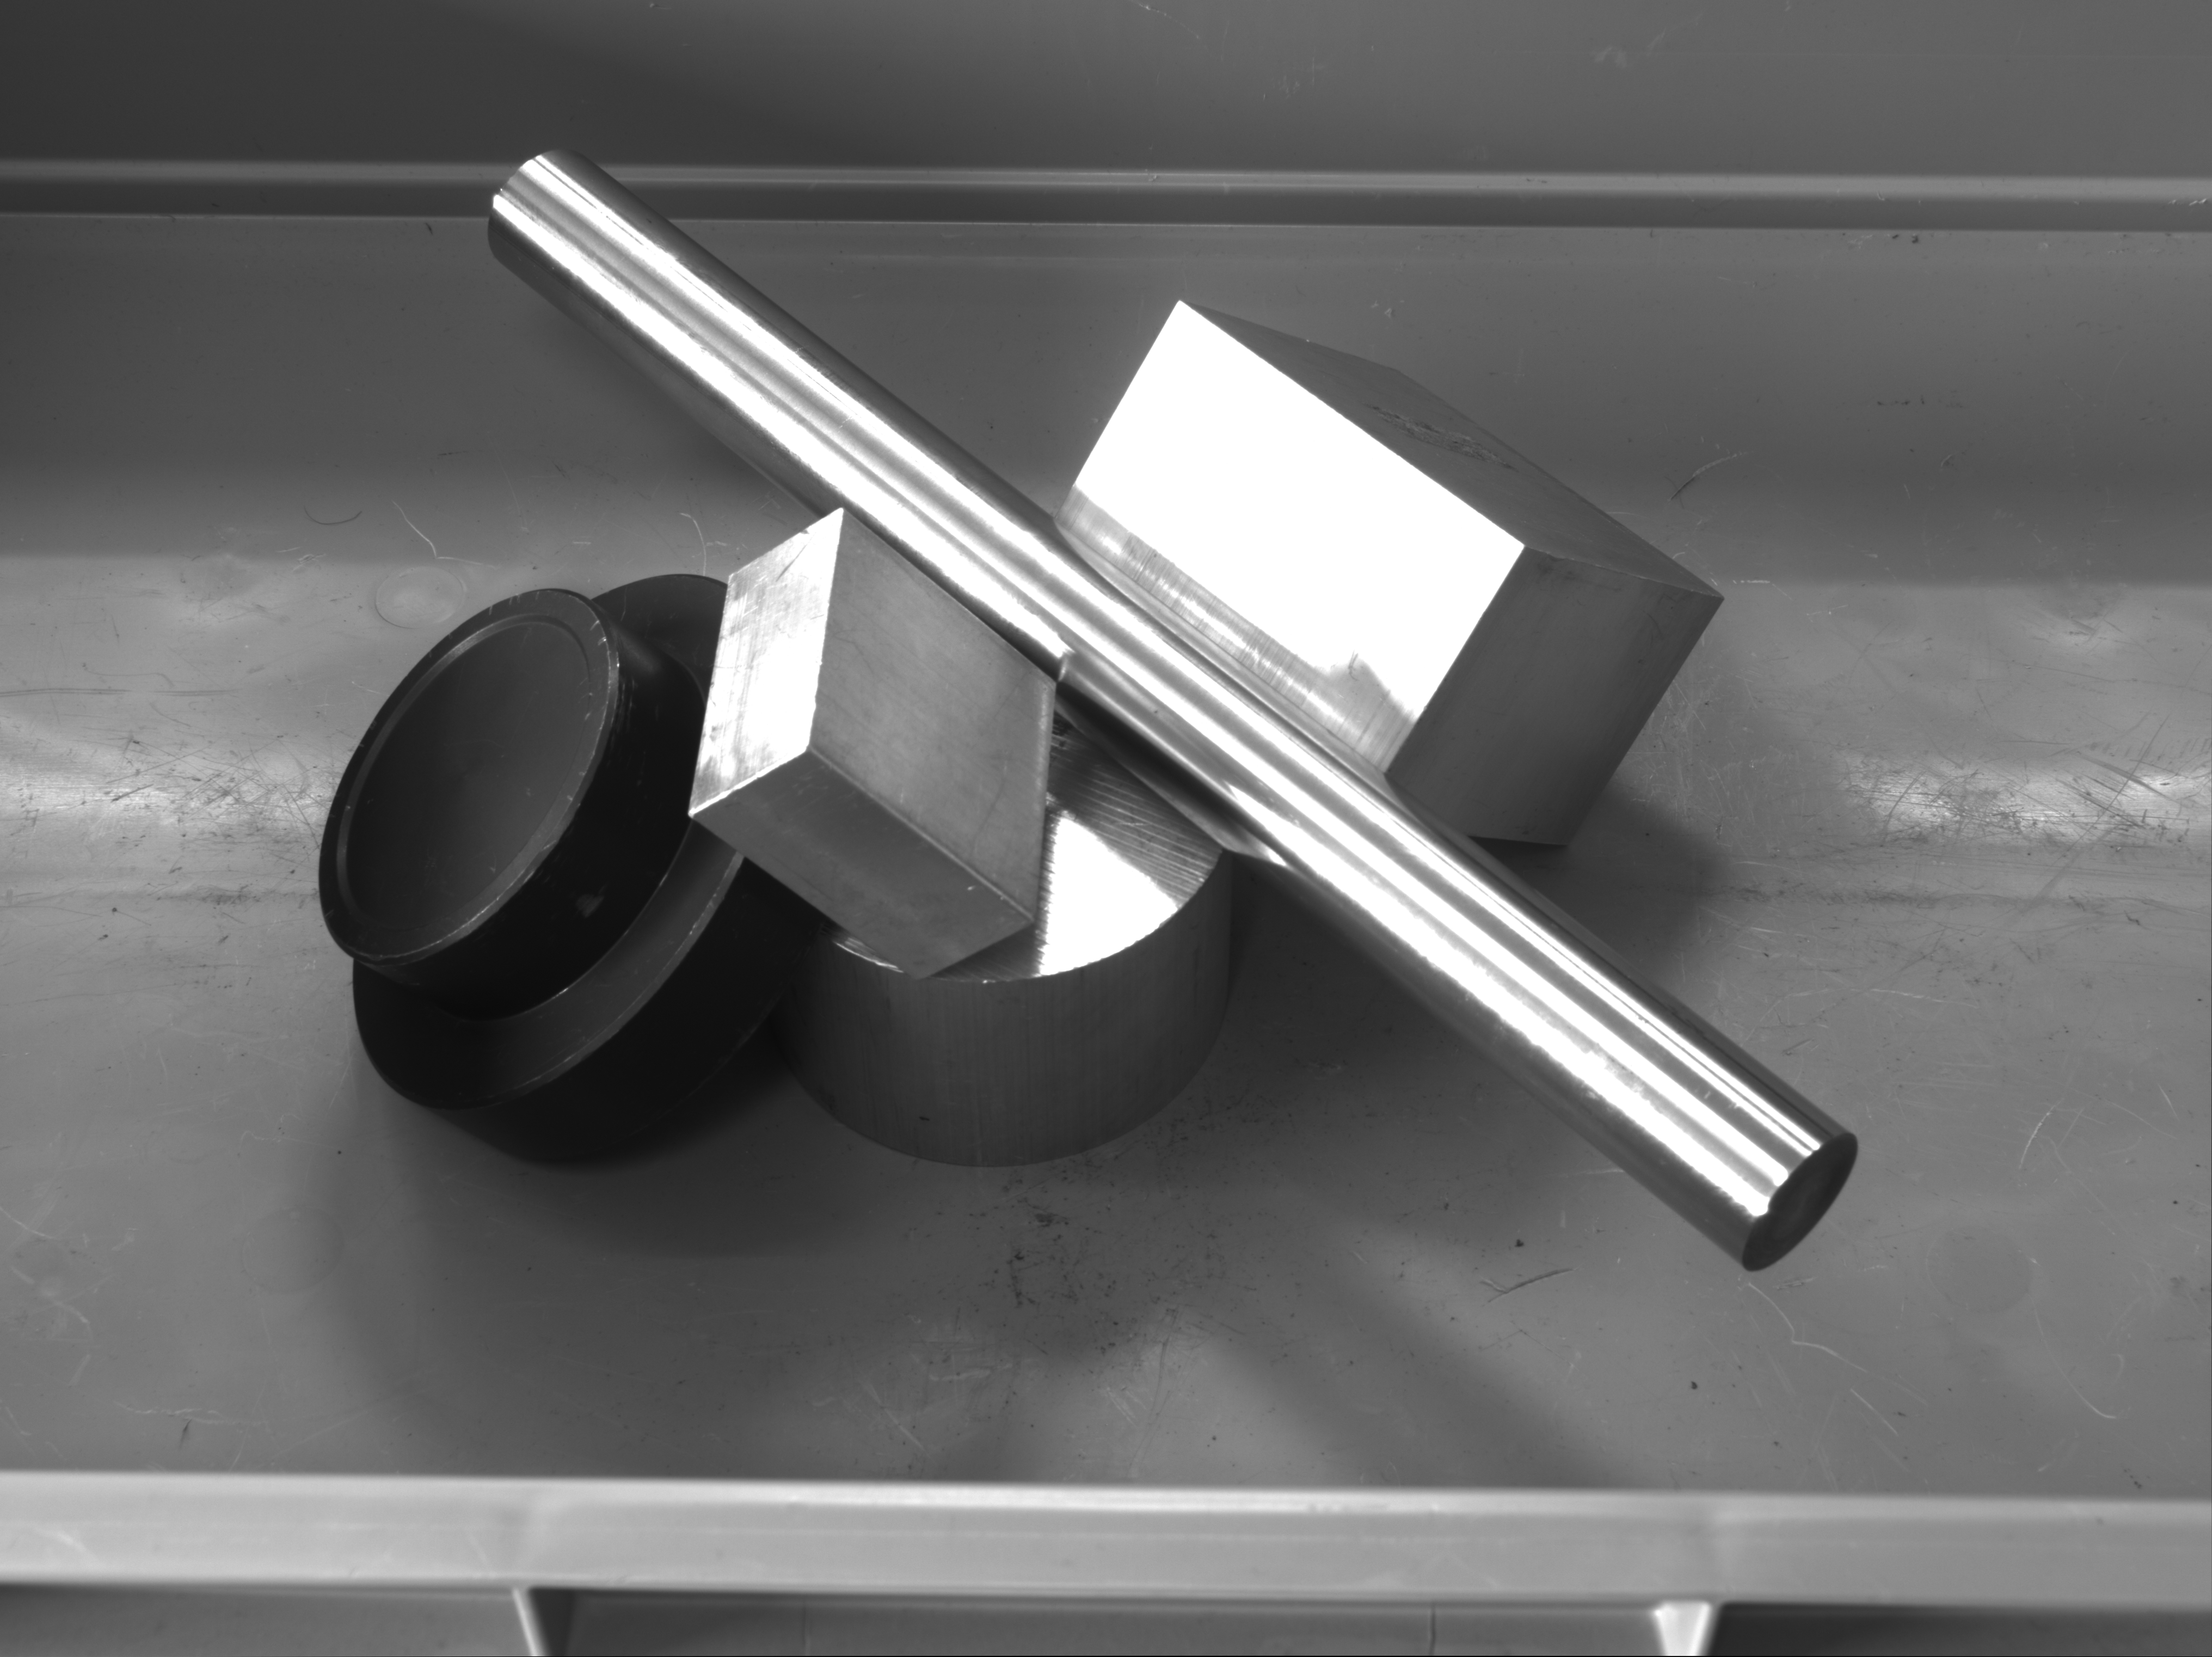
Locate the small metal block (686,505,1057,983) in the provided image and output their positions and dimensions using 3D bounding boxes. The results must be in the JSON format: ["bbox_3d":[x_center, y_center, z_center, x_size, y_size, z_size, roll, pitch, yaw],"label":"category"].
[{"bbox_3d":[-0.035,-0.013,0.567,0.025,0.050,0.050,-27,41,32],"label":"small metal block"}]

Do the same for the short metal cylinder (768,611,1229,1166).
[{"bbox_3d":[-0.019,0.009,0.616,0.080,0.050,0.080,0,50,0],"label":"short metal cylinder"}]

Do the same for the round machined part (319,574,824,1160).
[{"bbox_3d":[-0.089,0.001,0.596,0.098,0.042,0.098,-25,47,30],"label":"round machined part"}]

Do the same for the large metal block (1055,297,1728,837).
[{"bbox_3d":[0.048,-0.043,0.633,0.080,0.050,0.080,39,17,28],"label":"large metal block"}]

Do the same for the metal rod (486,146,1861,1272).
[{"bbox_3d":[-0.001,-0.030,0.600,0.025,0.025,0.299,-35,58,-26],"label":"metal rod"}]
